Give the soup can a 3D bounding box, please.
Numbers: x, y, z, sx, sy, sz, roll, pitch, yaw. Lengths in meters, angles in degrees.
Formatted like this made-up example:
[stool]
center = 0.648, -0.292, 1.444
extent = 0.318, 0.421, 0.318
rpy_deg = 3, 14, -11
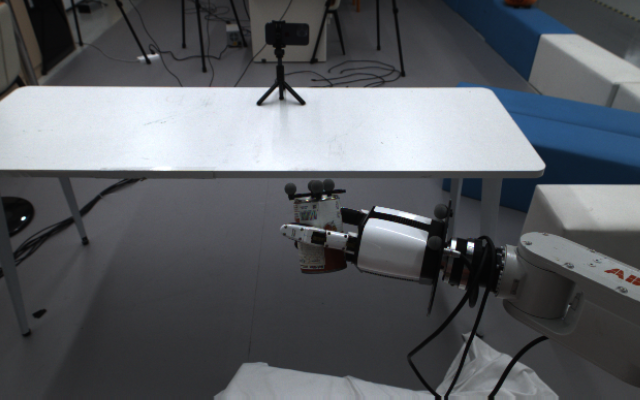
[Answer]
[soup can]
center = 0.002, 0.047, 0.678
extent = 0.067, 0.101, 0.067
rpy_deg = -7, 3, 0
